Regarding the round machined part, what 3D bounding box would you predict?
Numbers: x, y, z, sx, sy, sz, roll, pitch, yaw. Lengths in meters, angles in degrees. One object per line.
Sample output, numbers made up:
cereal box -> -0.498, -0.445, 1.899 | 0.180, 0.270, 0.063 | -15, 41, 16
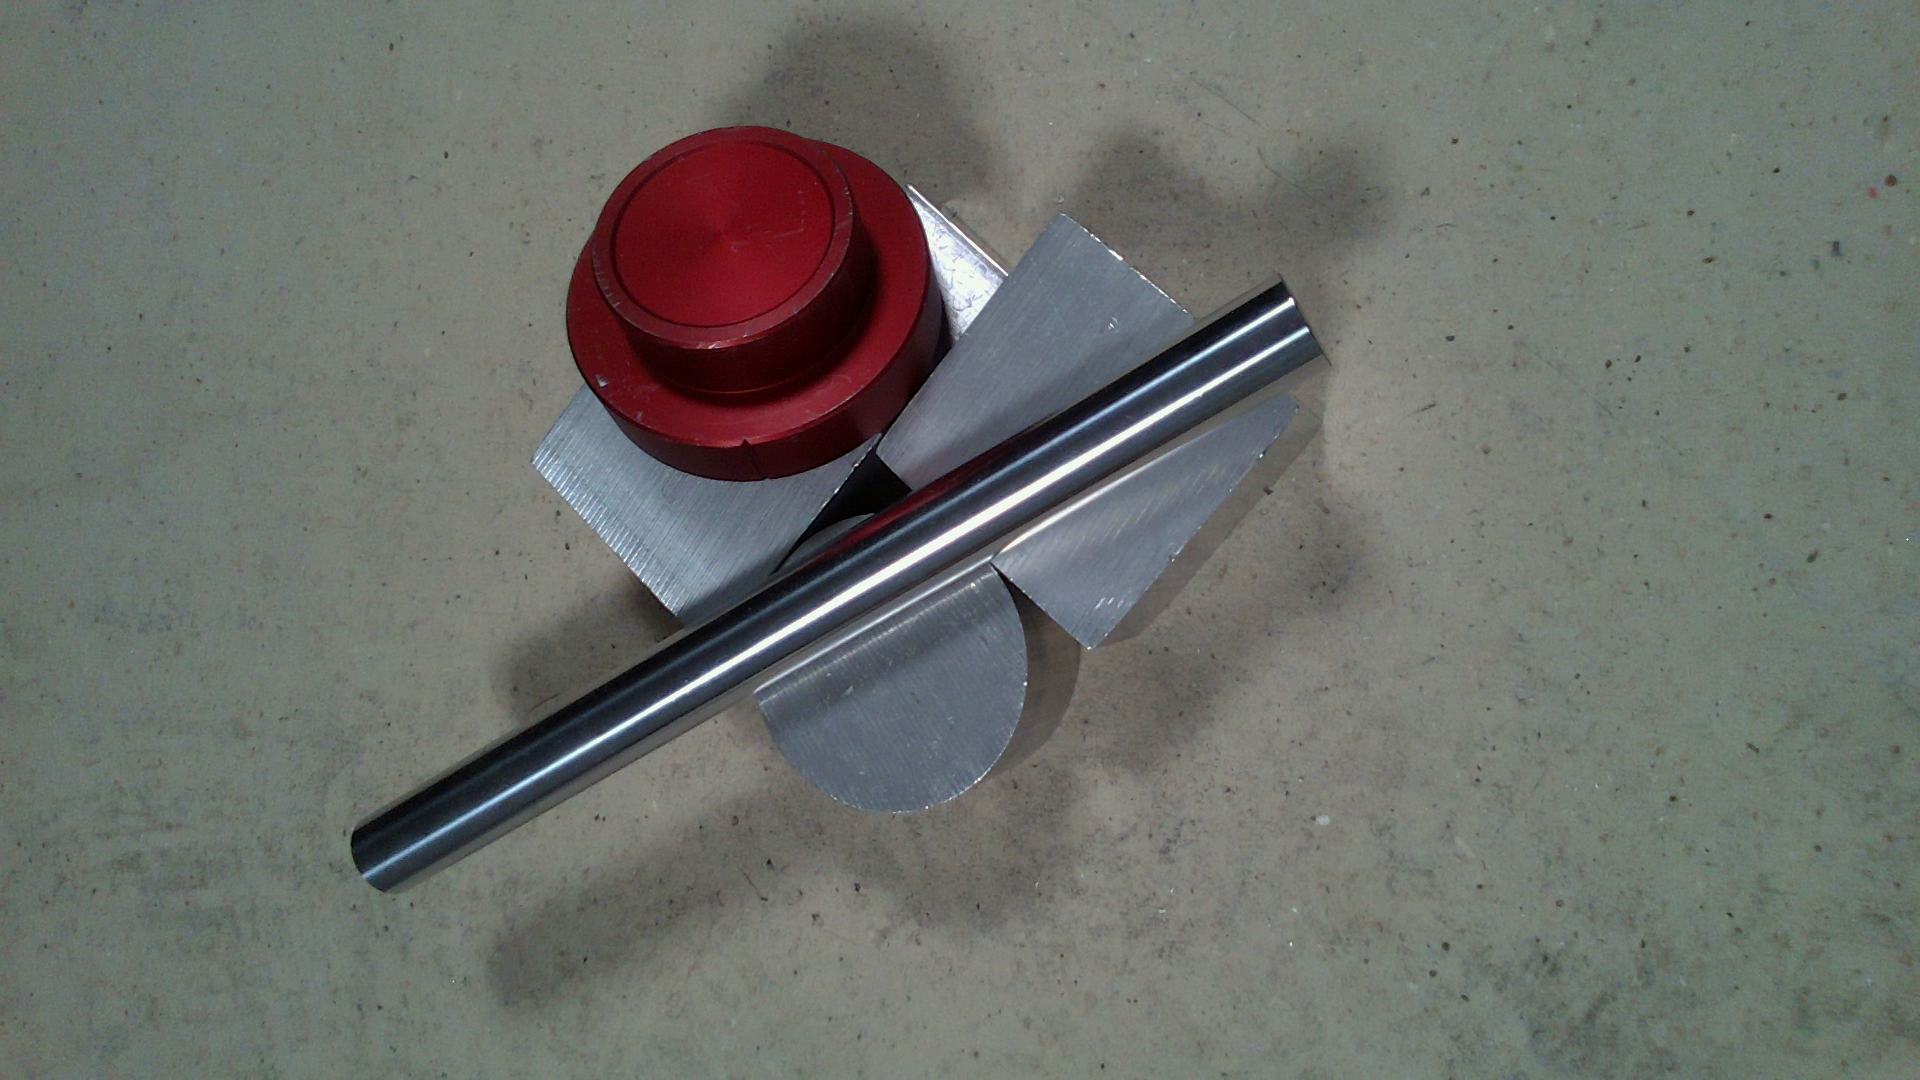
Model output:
round machined part -> -0.056, -0.068, 0.360 | 0.098, 0.042, 0.098 | -3, 64, 6

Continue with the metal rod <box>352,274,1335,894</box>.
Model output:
metal rod -> -0.044, 0.021, 0.359 | 0.299, 0.025, 0.025 | -30, 80, 18

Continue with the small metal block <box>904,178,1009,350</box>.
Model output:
small metal block -> -0.009, -0.067, 0.398 | 0.050, 0.025, 0.050 | 44, 104, 14

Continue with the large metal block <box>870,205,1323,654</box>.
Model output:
large metal block -> 0.038, -0.028, 0.369 | 0.080, 0.050, 0.080 | 43, 104, 15

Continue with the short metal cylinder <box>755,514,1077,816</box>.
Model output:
short metal cylinder -> -0.012, 0.033, 0.386 | 0.080, 0.050, 0.080 | 0, 90, 20

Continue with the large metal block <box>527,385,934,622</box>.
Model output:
large metal block -> -0.064, -0.026, 0.405 | 0.080, 0.050, 0.080 | 44, 104, 15
